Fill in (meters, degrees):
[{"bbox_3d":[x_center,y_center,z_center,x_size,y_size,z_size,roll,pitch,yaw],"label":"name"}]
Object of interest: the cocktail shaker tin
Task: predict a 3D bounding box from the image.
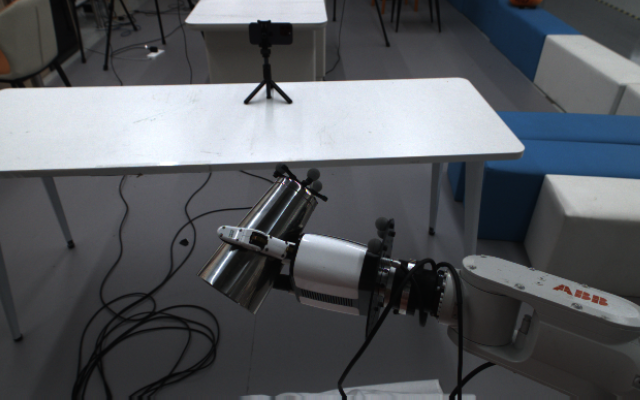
[{"bbox_3d":[-0.077,0.051,0.646,0.093,0.093,0.170,24,69,28],"label":"cocktail shaker tin"}]
